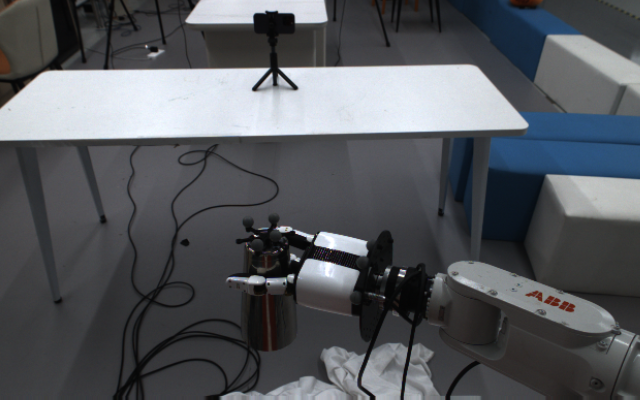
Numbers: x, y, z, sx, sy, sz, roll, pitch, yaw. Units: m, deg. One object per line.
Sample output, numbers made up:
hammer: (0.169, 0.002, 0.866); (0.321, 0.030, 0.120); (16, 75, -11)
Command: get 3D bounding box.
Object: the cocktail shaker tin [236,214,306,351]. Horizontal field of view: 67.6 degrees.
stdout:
cocktail shaker tin: (-0.079, 0.135, 0.752); (0.093, 0.170, 0.093); (1, 26, -1)
